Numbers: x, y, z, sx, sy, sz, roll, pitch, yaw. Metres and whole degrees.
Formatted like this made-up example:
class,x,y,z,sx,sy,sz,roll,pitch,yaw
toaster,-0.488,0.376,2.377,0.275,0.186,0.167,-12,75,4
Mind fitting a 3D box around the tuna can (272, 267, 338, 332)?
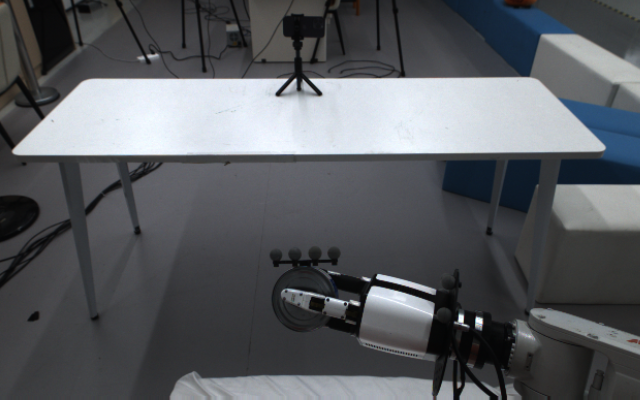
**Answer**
class,x,y,z,sx,sy,sz,roll,pitch,yaw
tuna can,-0.016,0.135,0.640,0.085,0.085,0.034,10,-6,11
